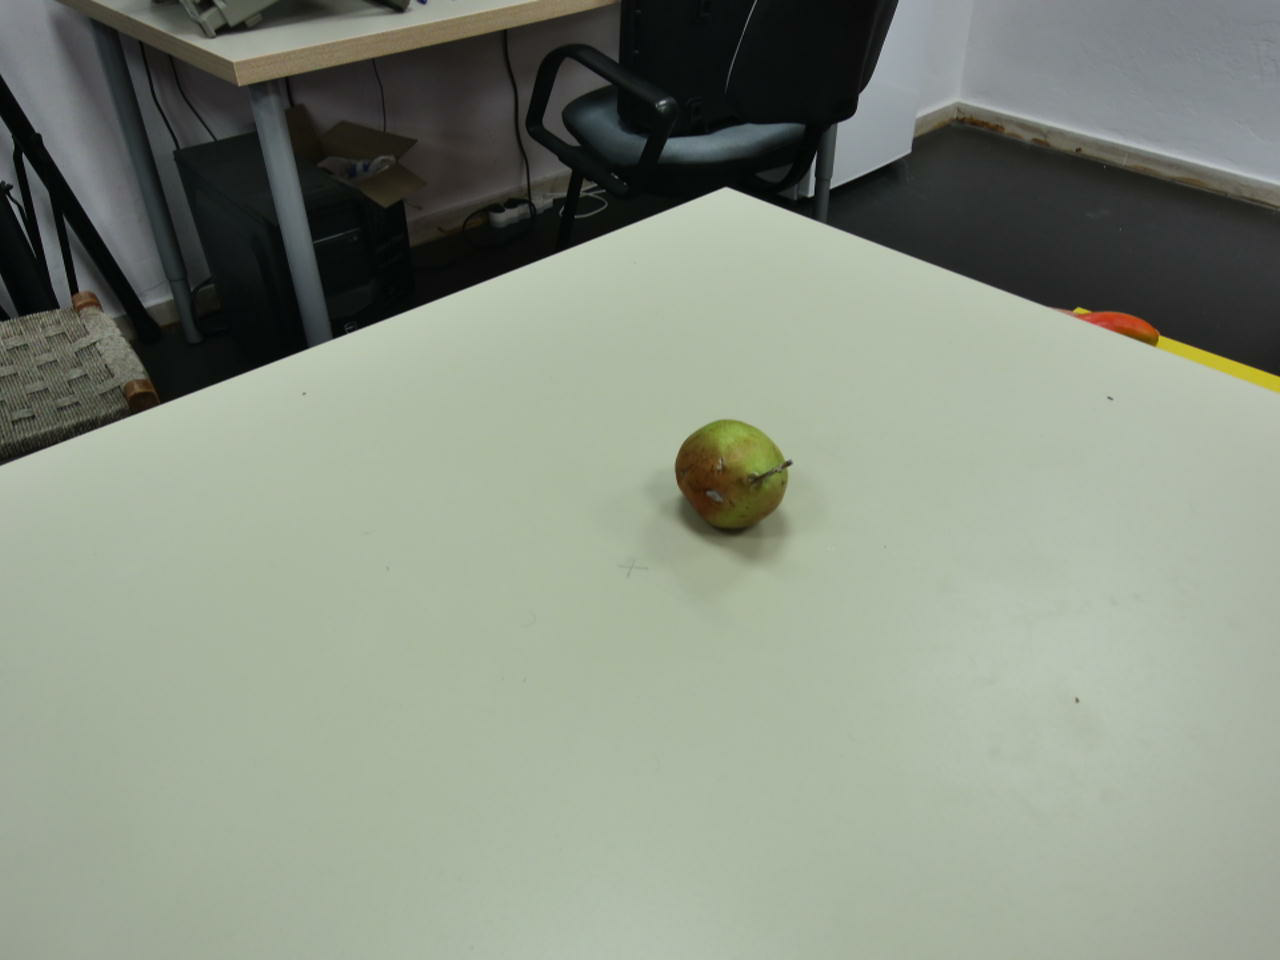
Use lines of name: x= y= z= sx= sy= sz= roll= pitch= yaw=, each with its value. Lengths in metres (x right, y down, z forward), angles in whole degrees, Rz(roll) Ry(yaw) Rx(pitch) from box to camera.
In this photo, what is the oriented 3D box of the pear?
pear: x=0.054 y=-0.004 z=0.590 sx=0.068 sy=0.069 sz=0.070 roll=7 pitch=37 yaw=8
